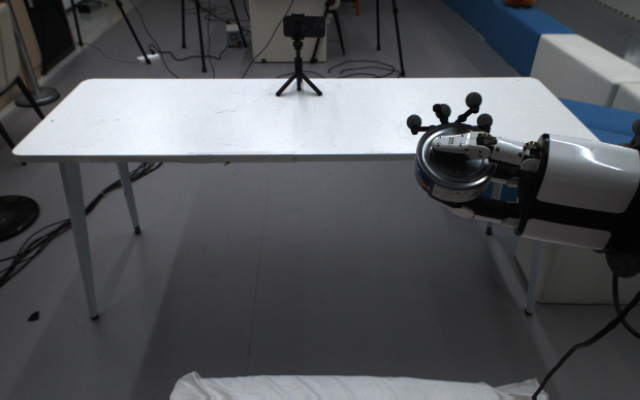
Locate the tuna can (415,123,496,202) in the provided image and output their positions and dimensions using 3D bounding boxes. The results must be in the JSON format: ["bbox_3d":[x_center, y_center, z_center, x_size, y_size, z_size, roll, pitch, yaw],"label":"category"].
[{"bbox_3d":[0.148,-0.042,0.529,0.085,0.034,0.085,-2,58,3],"label":"tuna can"}]
